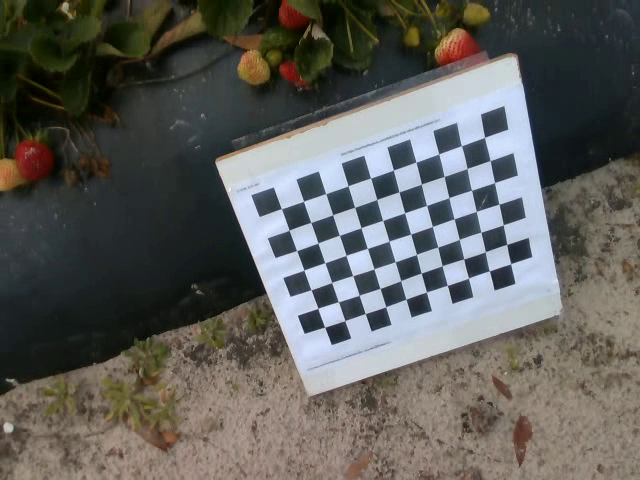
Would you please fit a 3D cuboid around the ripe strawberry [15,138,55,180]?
[{"bbox_3d":[-0.254,-0.067,0.504,0.034,0.042,0.033,11,-42,-8],"label":"ripe strawberry"}]
